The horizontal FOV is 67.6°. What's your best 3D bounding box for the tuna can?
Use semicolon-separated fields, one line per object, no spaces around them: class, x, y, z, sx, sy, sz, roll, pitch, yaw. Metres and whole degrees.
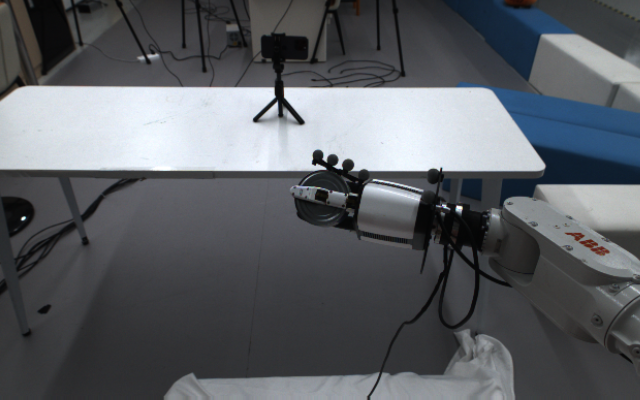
tuna can;0.008;-0.002;0.741;0.085;0.085;0.034;14;-5;16
